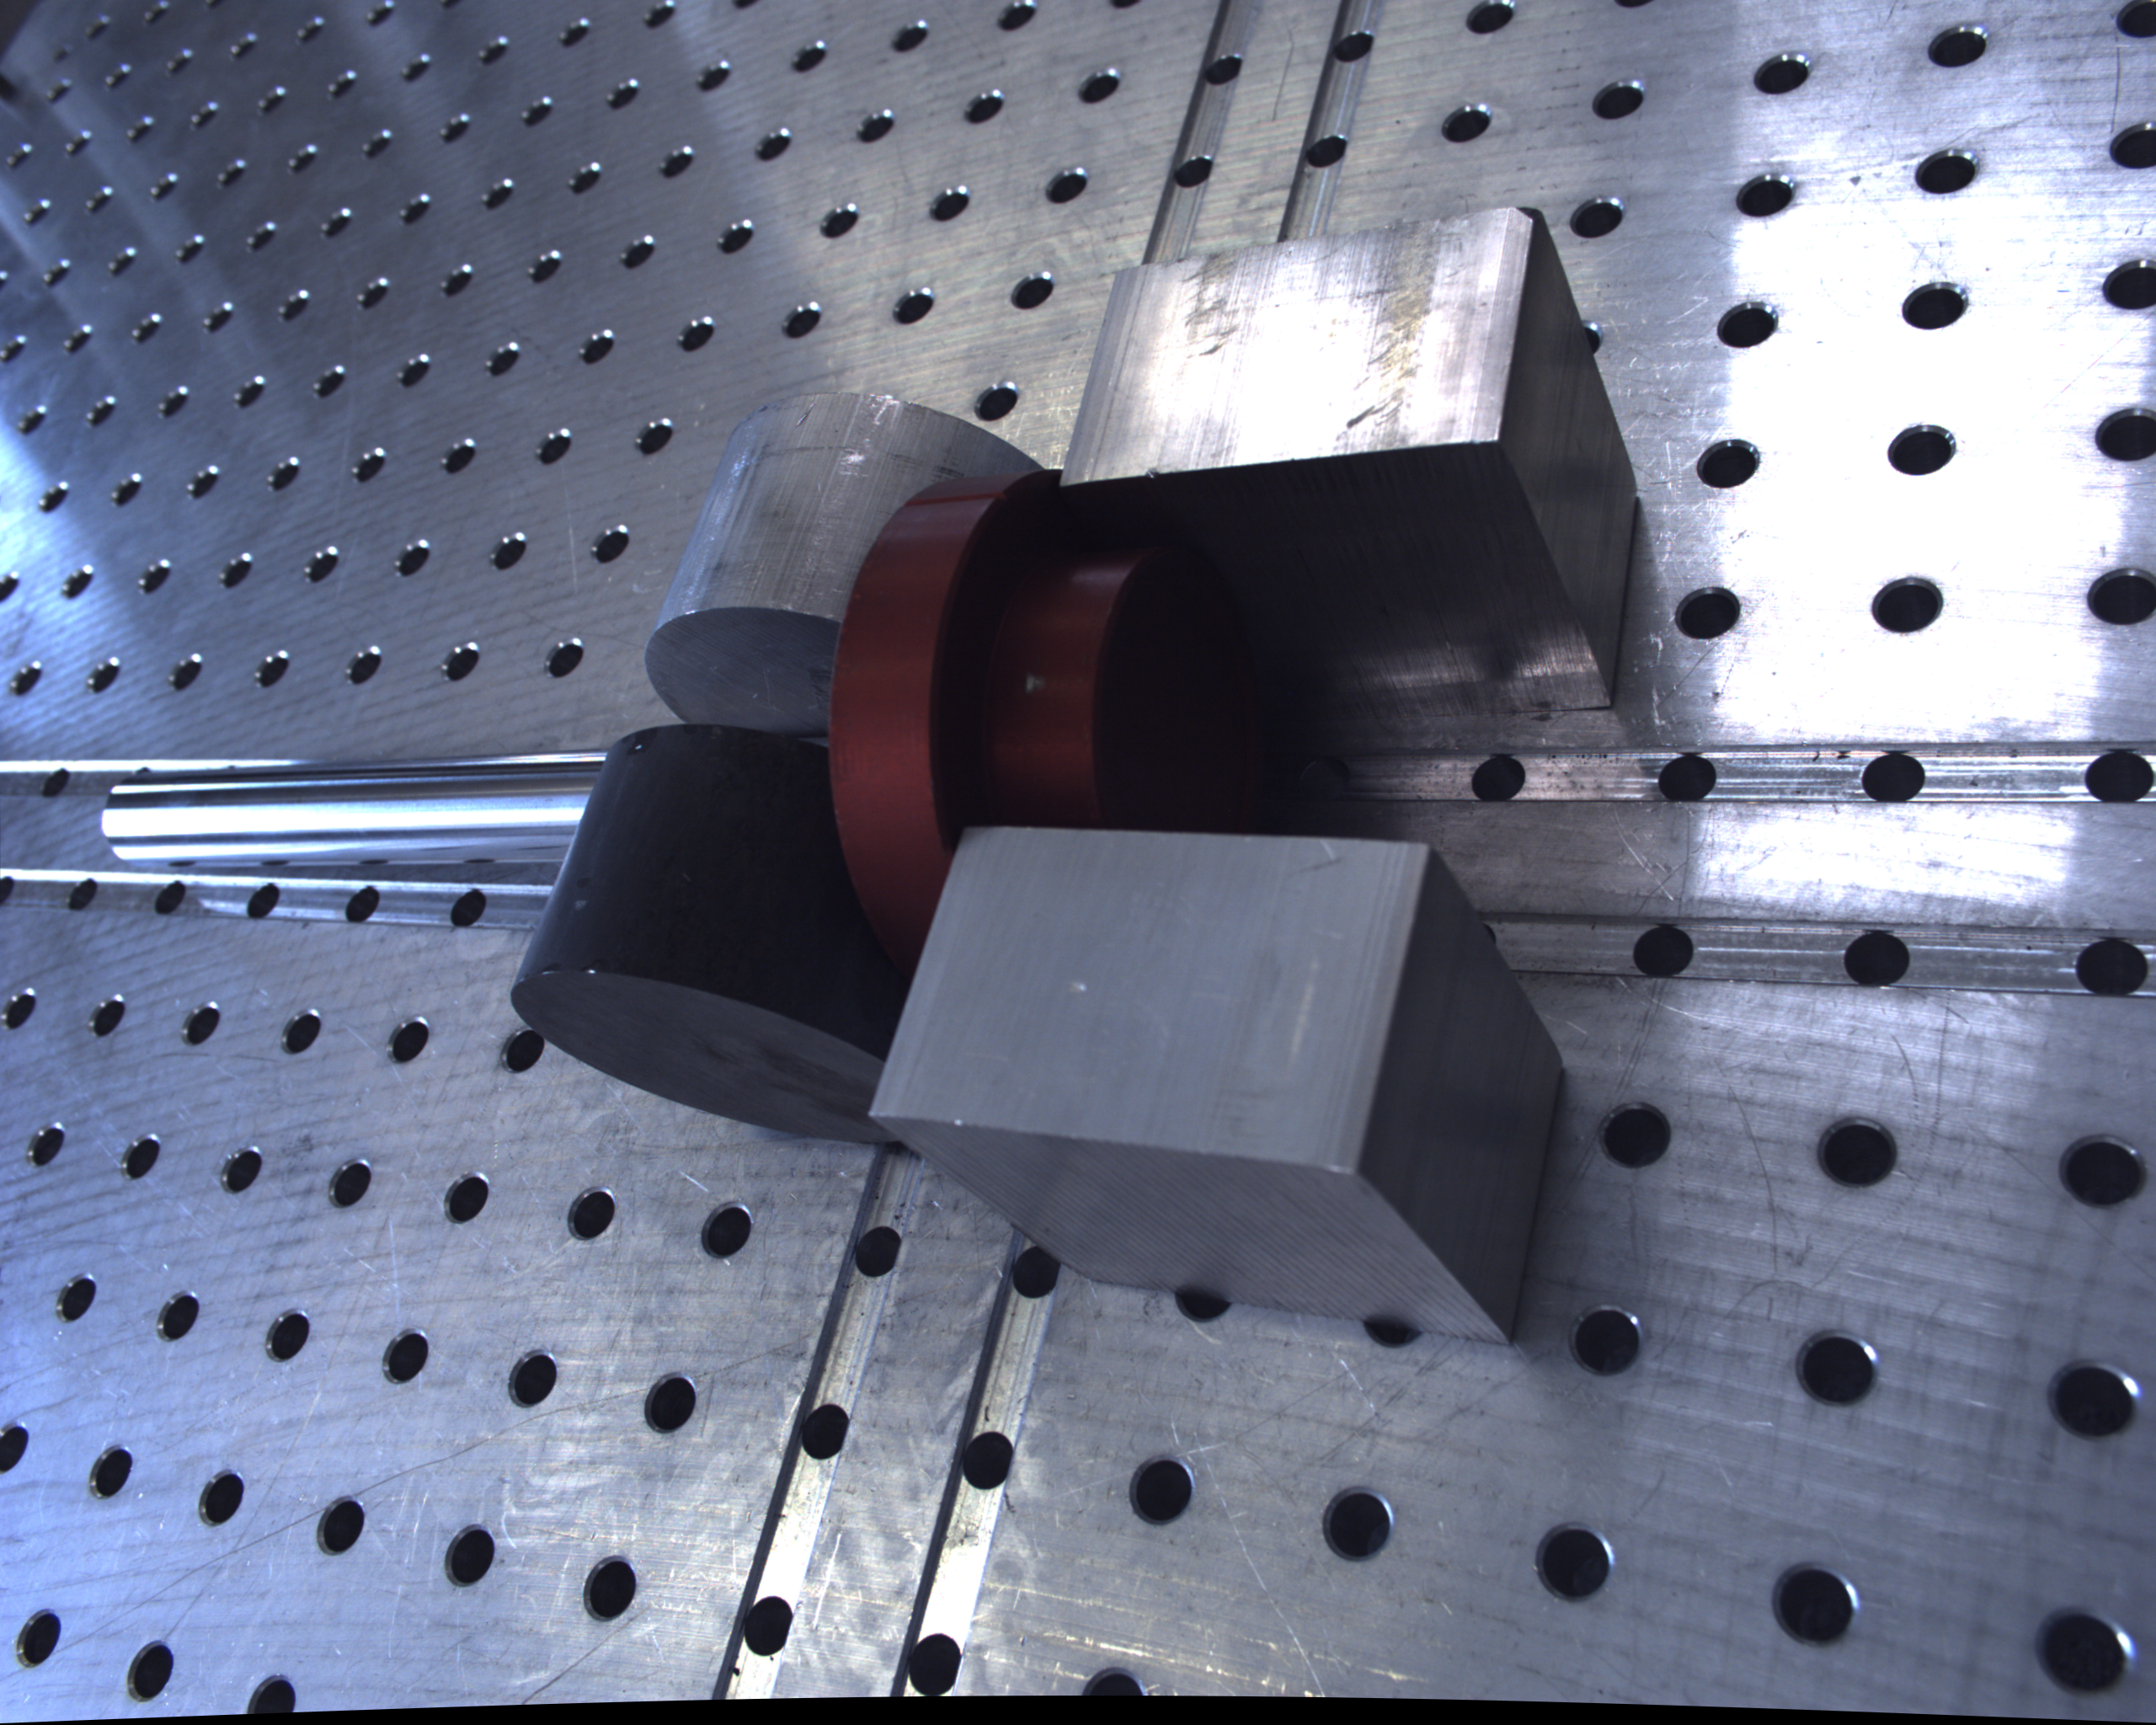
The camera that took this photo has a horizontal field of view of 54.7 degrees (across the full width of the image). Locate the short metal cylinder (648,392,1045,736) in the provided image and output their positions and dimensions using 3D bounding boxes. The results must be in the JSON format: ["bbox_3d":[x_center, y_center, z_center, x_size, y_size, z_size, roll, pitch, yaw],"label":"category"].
[{"bbox_3d":[-0.041,-0.051,0.426,0.080,0.080,0.050,1,63,28],"label":"short metal cylinder"}]

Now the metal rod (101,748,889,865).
[{"bbox_3d":[-0.115,-0.012,0.462,0.300,0.025,0.025,0,62,32],"label":"metal rod"}]

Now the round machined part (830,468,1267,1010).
[{"bbox_3d":[0.001,-0.021,0.373,0.042,0.098,0.098,1,62,29],"label":"round machined part"}]

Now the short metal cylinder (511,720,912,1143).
[{"bbox_3d":[-0.059,0.015,0.394,0.080,0.080,0.050,1,63,29],"label":"short metal cylinder"}]

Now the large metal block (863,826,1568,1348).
[{"bbox_3d":[0.026,0.037,0.338,0.080,0.080,0.050,3,63,29],"label":"large metal block"}]

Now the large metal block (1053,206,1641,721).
[{"bbox_3d":[0.054,-0.069,0.388,0.080,0.080,0.050,0,62,28],"label":"large metal block"}]
